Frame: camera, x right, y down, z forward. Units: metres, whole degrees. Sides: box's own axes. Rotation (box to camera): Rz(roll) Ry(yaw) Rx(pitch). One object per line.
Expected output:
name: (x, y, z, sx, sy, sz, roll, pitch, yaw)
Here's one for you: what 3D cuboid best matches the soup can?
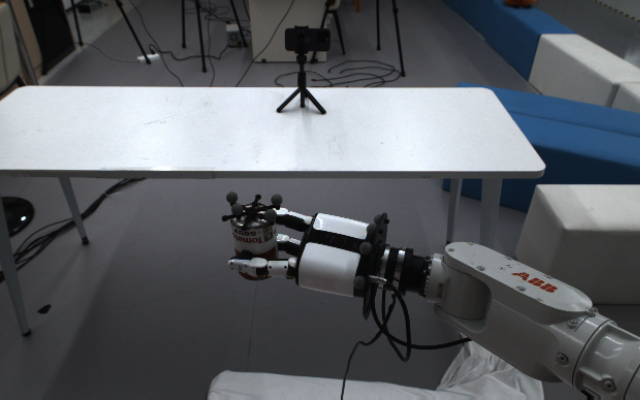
soup can: (-0.097, 0.064, 0.742, 0.067, 0.101, 0.067, -2, 34, 1)
